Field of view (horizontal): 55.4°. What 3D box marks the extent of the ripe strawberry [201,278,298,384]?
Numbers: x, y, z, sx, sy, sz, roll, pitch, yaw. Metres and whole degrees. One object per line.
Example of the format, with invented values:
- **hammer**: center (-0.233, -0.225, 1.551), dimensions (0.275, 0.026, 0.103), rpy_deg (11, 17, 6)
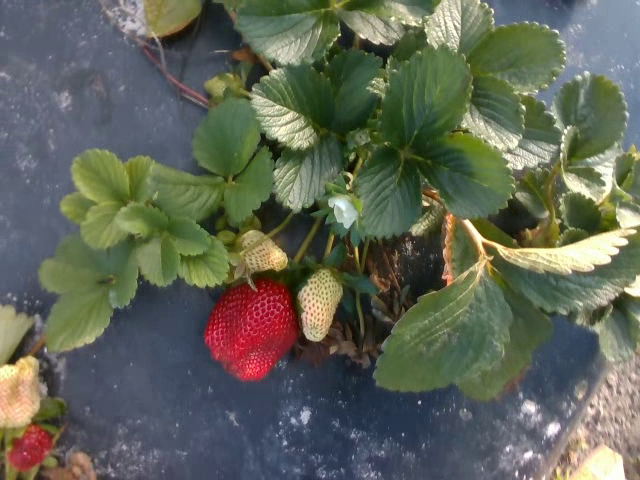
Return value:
- **ripe strawberry**: center (-0.042, 0.057, 0.367), dimensions (0.057, 0.058, 0.071), rpy_deg (7, 35, 32)
